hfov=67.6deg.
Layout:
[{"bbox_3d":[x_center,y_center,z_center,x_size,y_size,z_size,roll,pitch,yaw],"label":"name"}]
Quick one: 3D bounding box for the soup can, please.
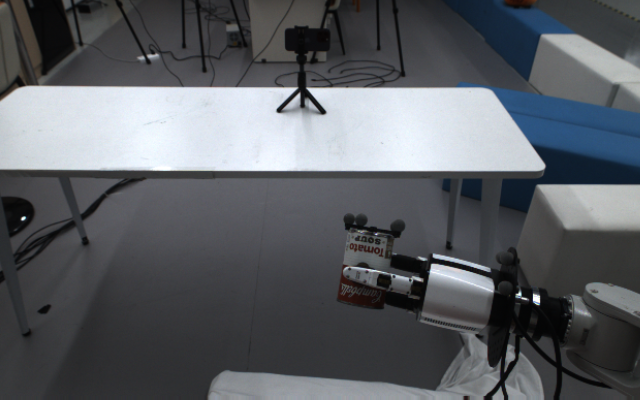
[{"bbox_3d":[0.066,0.095,0.679,0.067,0.101,0.067,9,-5,1],"label":"soup can"}]
